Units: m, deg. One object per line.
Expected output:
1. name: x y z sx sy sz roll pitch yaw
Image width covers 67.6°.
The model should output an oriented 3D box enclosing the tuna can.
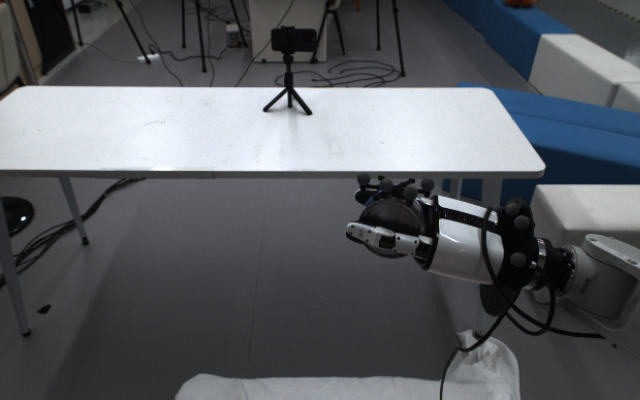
1. tuna can: 0.095 0.029 0.630 0.085 0.085 0.034 9 23 10
